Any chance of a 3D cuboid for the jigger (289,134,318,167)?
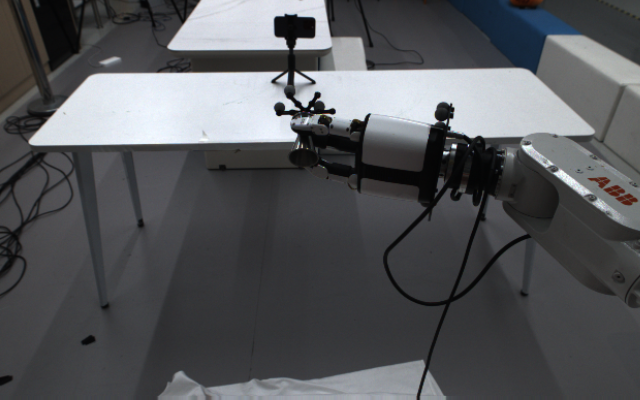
[{"bbox_3d":[-0.023,-0.091,0.689,0.043,0.043,0.071,2,59,-1],"label":"jigger"}]
